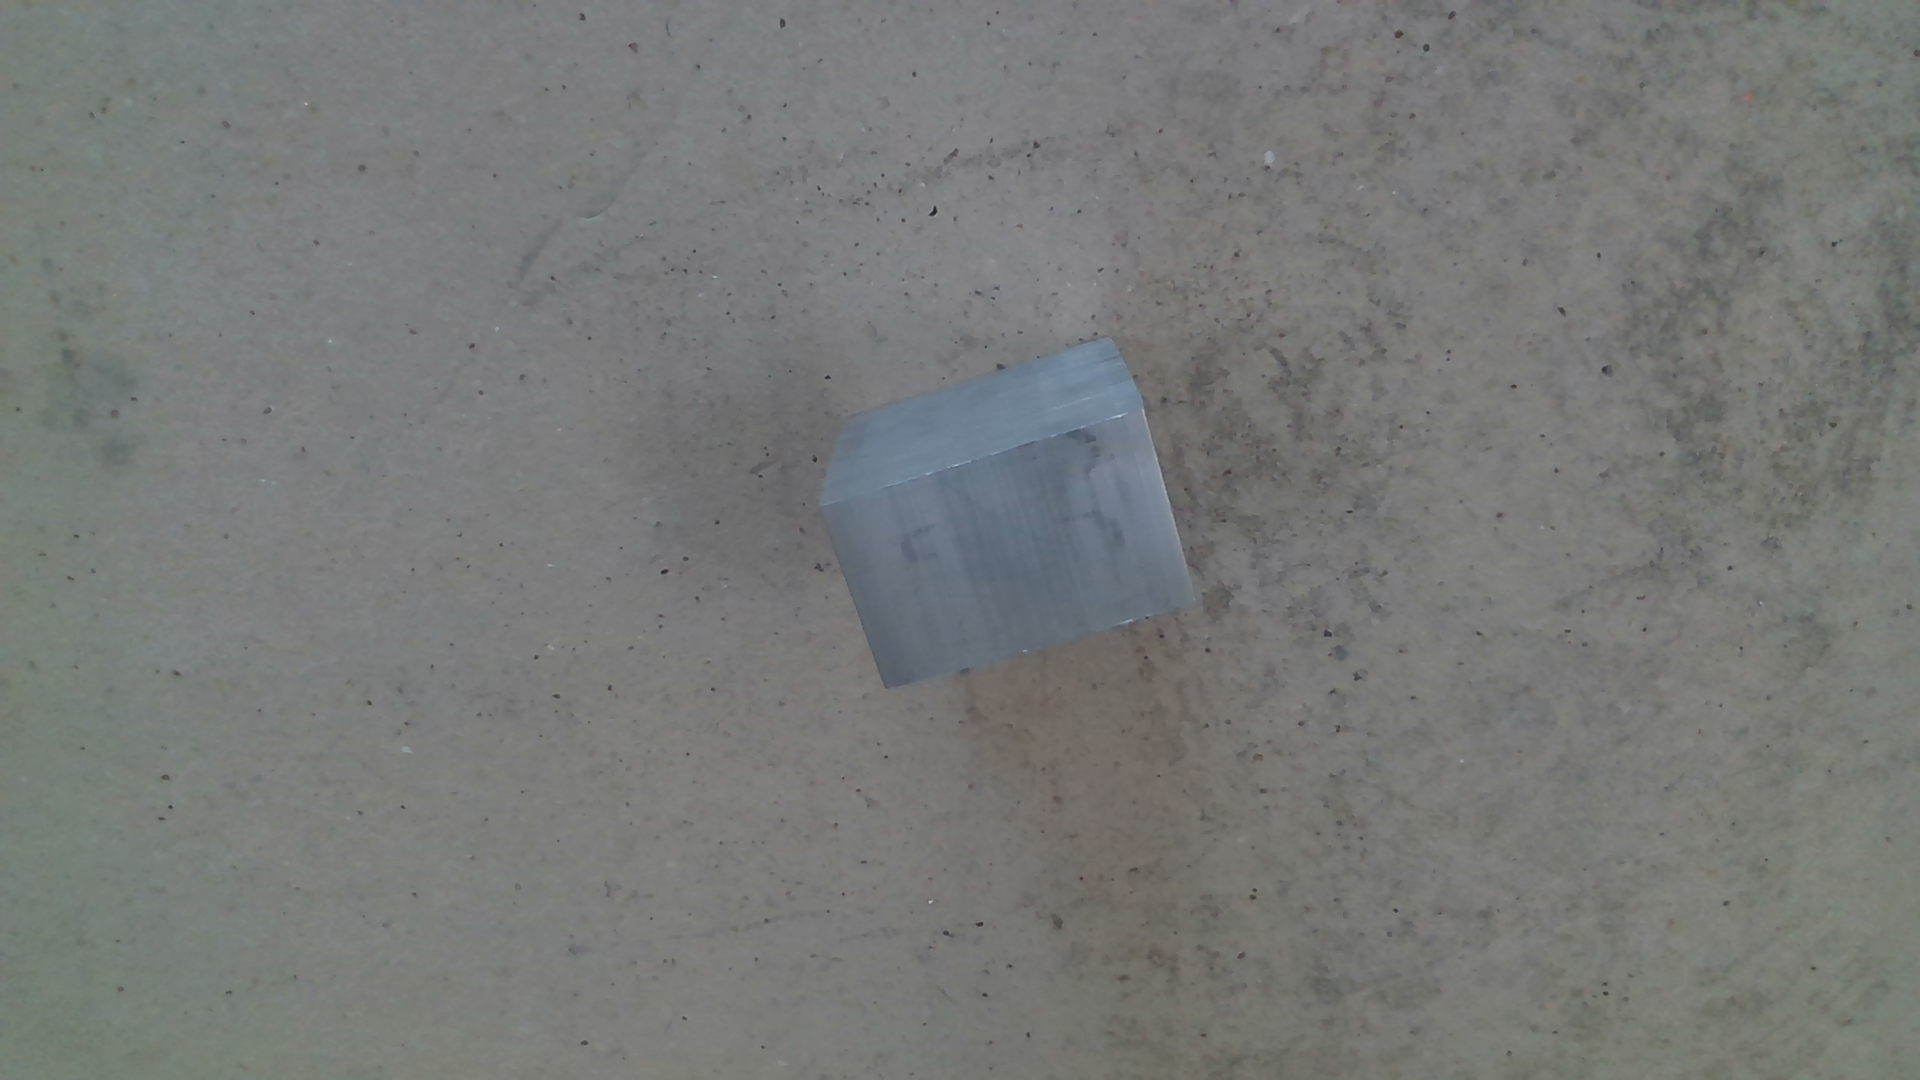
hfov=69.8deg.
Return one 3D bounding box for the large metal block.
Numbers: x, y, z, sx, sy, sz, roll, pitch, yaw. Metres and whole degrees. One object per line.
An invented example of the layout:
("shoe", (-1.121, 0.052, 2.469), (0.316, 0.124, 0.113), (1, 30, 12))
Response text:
("large metal block", (0.011, -0.010, 0.360), (0.080, 0.080, 0.050), (-16, 109, 6))
